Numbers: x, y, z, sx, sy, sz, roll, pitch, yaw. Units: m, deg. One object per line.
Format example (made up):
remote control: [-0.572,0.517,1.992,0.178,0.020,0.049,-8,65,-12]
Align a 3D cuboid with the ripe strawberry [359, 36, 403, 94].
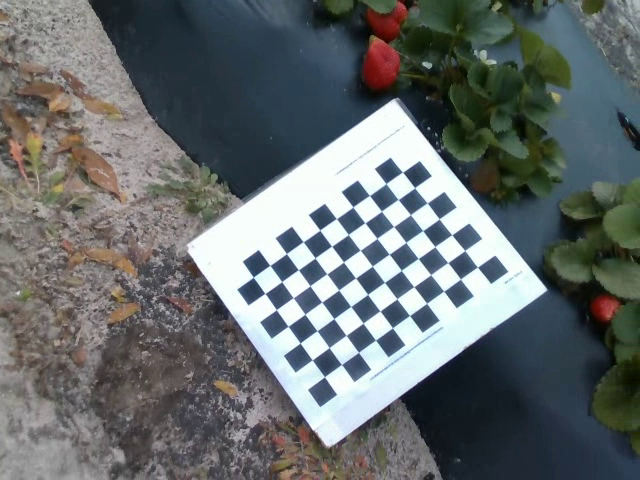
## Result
ripe strawberry: [0.064,-0.221,0.687,0.057,0.056,0.065,12,-5,24]
